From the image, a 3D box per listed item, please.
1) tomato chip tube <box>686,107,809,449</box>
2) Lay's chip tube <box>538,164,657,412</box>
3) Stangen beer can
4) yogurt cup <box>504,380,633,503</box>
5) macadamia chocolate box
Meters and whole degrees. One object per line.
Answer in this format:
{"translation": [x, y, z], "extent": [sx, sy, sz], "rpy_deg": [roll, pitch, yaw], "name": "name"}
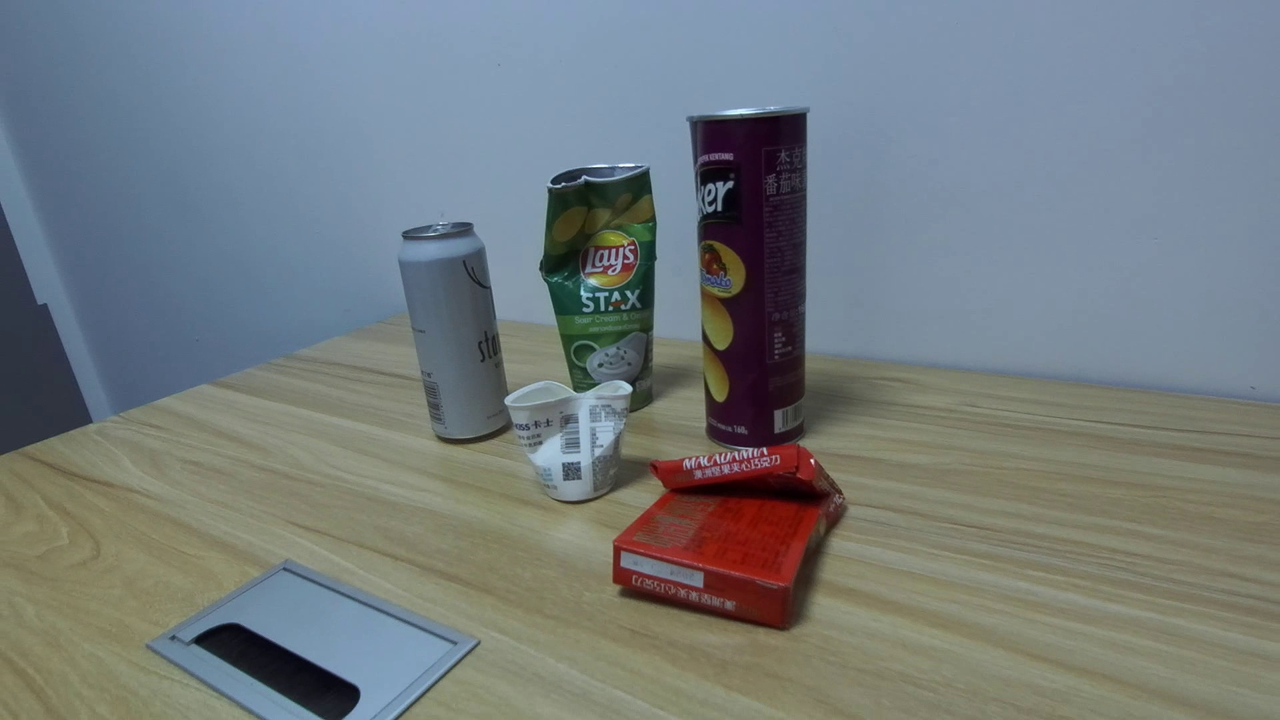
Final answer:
{"translation": [0.080, -0.054, 0.501], "extent": [0.076, 0.234, 0.080], "rpy_deg": [-5, 20, 0], "name": "tomato chip tube"}
{"translation": [-0.030, -0.056, 0.586], "extent": [0.077, 0.201, 0.069], "rpy_deg": [-24, 26, -36], "name": "Lay's chip tube"}
{"translation": [-0.148, -0.021, 0.569], "extent": [0.067, 0.171, 0.067], "rpy_deg": [-5, 18, 2], "name": "Stangen beer can"}
{"translation": [-0.044, 0.052, 0.475], "extent": [0.076, 0.071, 0.053], "rpy_deg": [-16, 24, -23], "name": "yogurt cup"}
{"translation": [0.046, 0.092, 0.401], "extent": [0.111, 0.056, 0.127], "rpy_deg": [-12, 16, 31], "name": "macadamia chocolate box"}
